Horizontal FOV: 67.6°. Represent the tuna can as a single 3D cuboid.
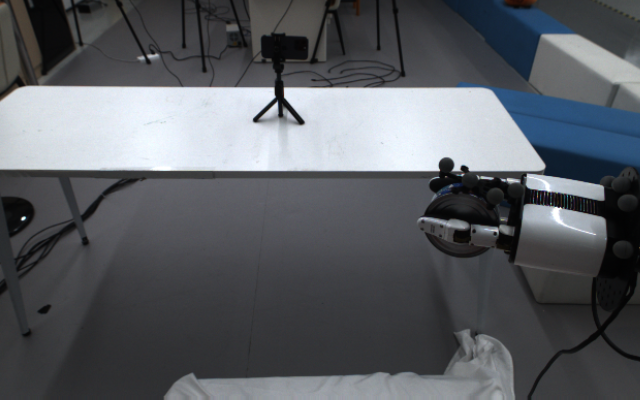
[{"bbox_3d":[0.171,0.022,0.576,0.085,0.085,0.034,16,28,19],"label":"tuna can"}]
